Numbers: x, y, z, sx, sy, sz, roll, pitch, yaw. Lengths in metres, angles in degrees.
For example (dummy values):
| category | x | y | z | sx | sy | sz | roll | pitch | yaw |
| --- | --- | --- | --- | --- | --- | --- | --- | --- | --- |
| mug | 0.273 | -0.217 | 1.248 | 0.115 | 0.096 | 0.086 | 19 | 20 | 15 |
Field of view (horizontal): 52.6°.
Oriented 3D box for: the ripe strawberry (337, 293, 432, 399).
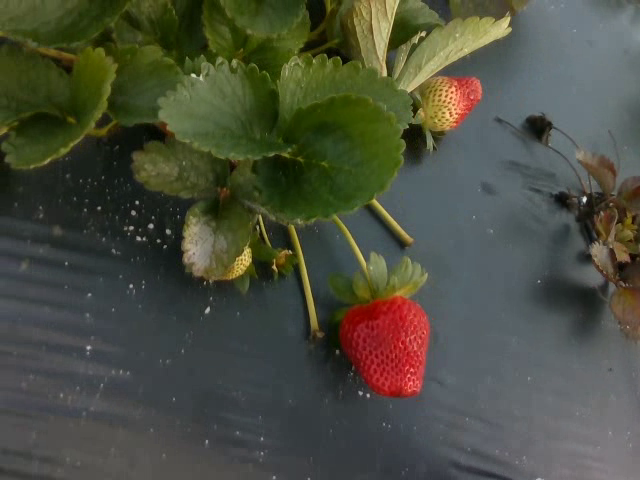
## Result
| category | x | y | z | sx | sy | sz | roll | pitch | yaw |
| --- | --- | --- | --- | --- | --- | --- | --- | --- | --- |
| ripe strawberry | 0.030 | 0.049 | 0.280 | 0.045 | 0.042 | 0.055 | -22 | 37 | 7 |
